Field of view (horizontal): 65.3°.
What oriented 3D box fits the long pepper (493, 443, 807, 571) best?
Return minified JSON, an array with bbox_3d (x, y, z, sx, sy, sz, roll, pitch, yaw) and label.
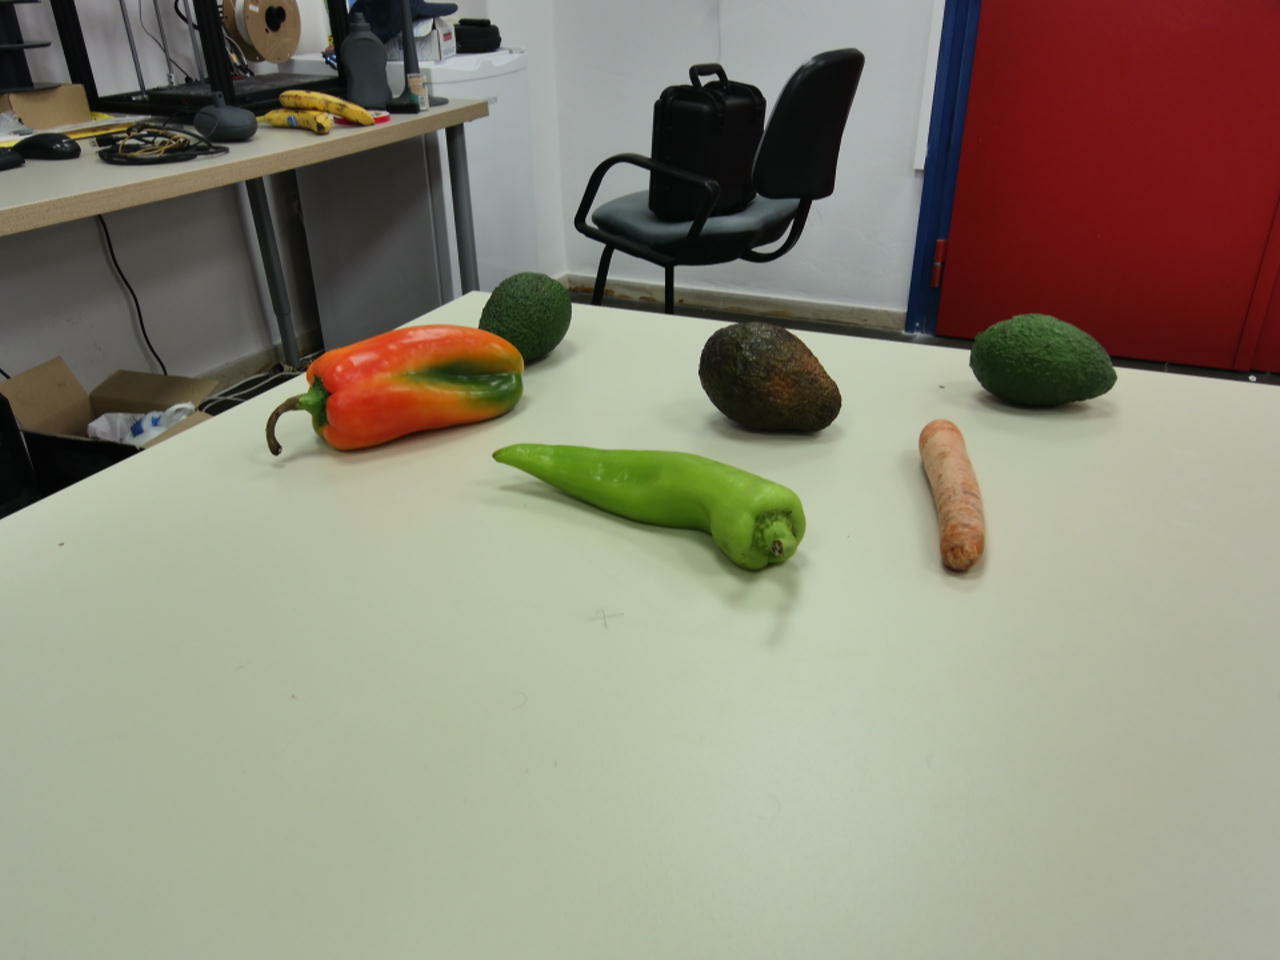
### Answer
[{"bbox_3d":[0.010,0.005,0.550,0.205,0.045,0.065,20,32,37],"label":"long pepper"}]
